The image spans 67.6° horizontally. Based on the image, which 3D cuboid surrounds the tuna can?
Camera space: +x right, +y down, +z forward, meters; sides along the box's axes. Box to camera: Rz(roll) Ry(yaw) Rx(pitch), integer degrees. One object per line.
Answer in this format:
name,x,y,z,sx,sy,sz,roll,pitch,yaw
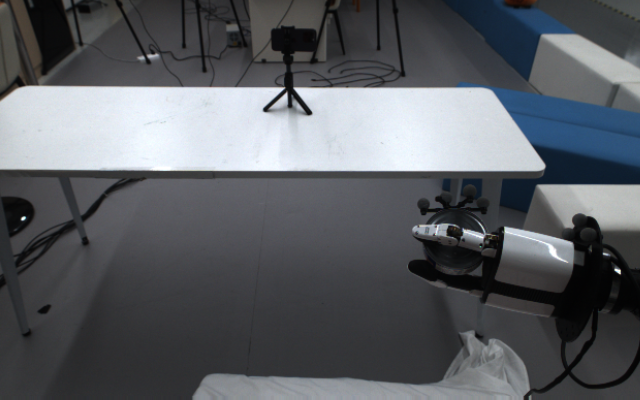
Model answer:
tuna can,0.180,0.053,0.646,0.085,0.034,0.085,-6,59,11
